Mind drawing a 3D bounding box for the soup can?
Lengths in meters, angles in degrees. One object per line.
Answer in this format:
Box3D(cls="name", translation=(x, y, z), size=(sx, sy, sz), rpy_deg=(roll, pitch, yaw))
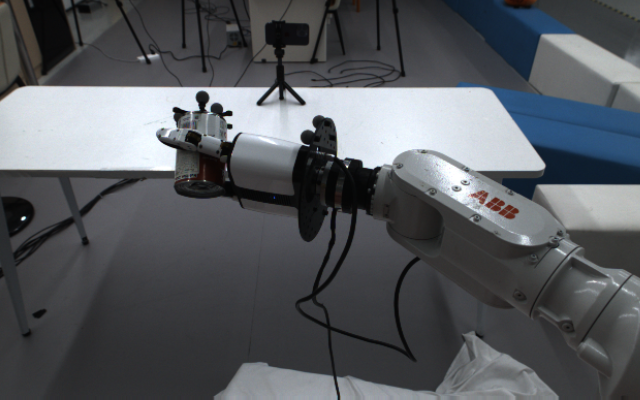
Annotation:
Box3D(cls="soup can", translation=(-0.159, -0.060, 0.653), size=(0.067, 0.067, 0.101), rpy_deg=(-1, 72, -5))
